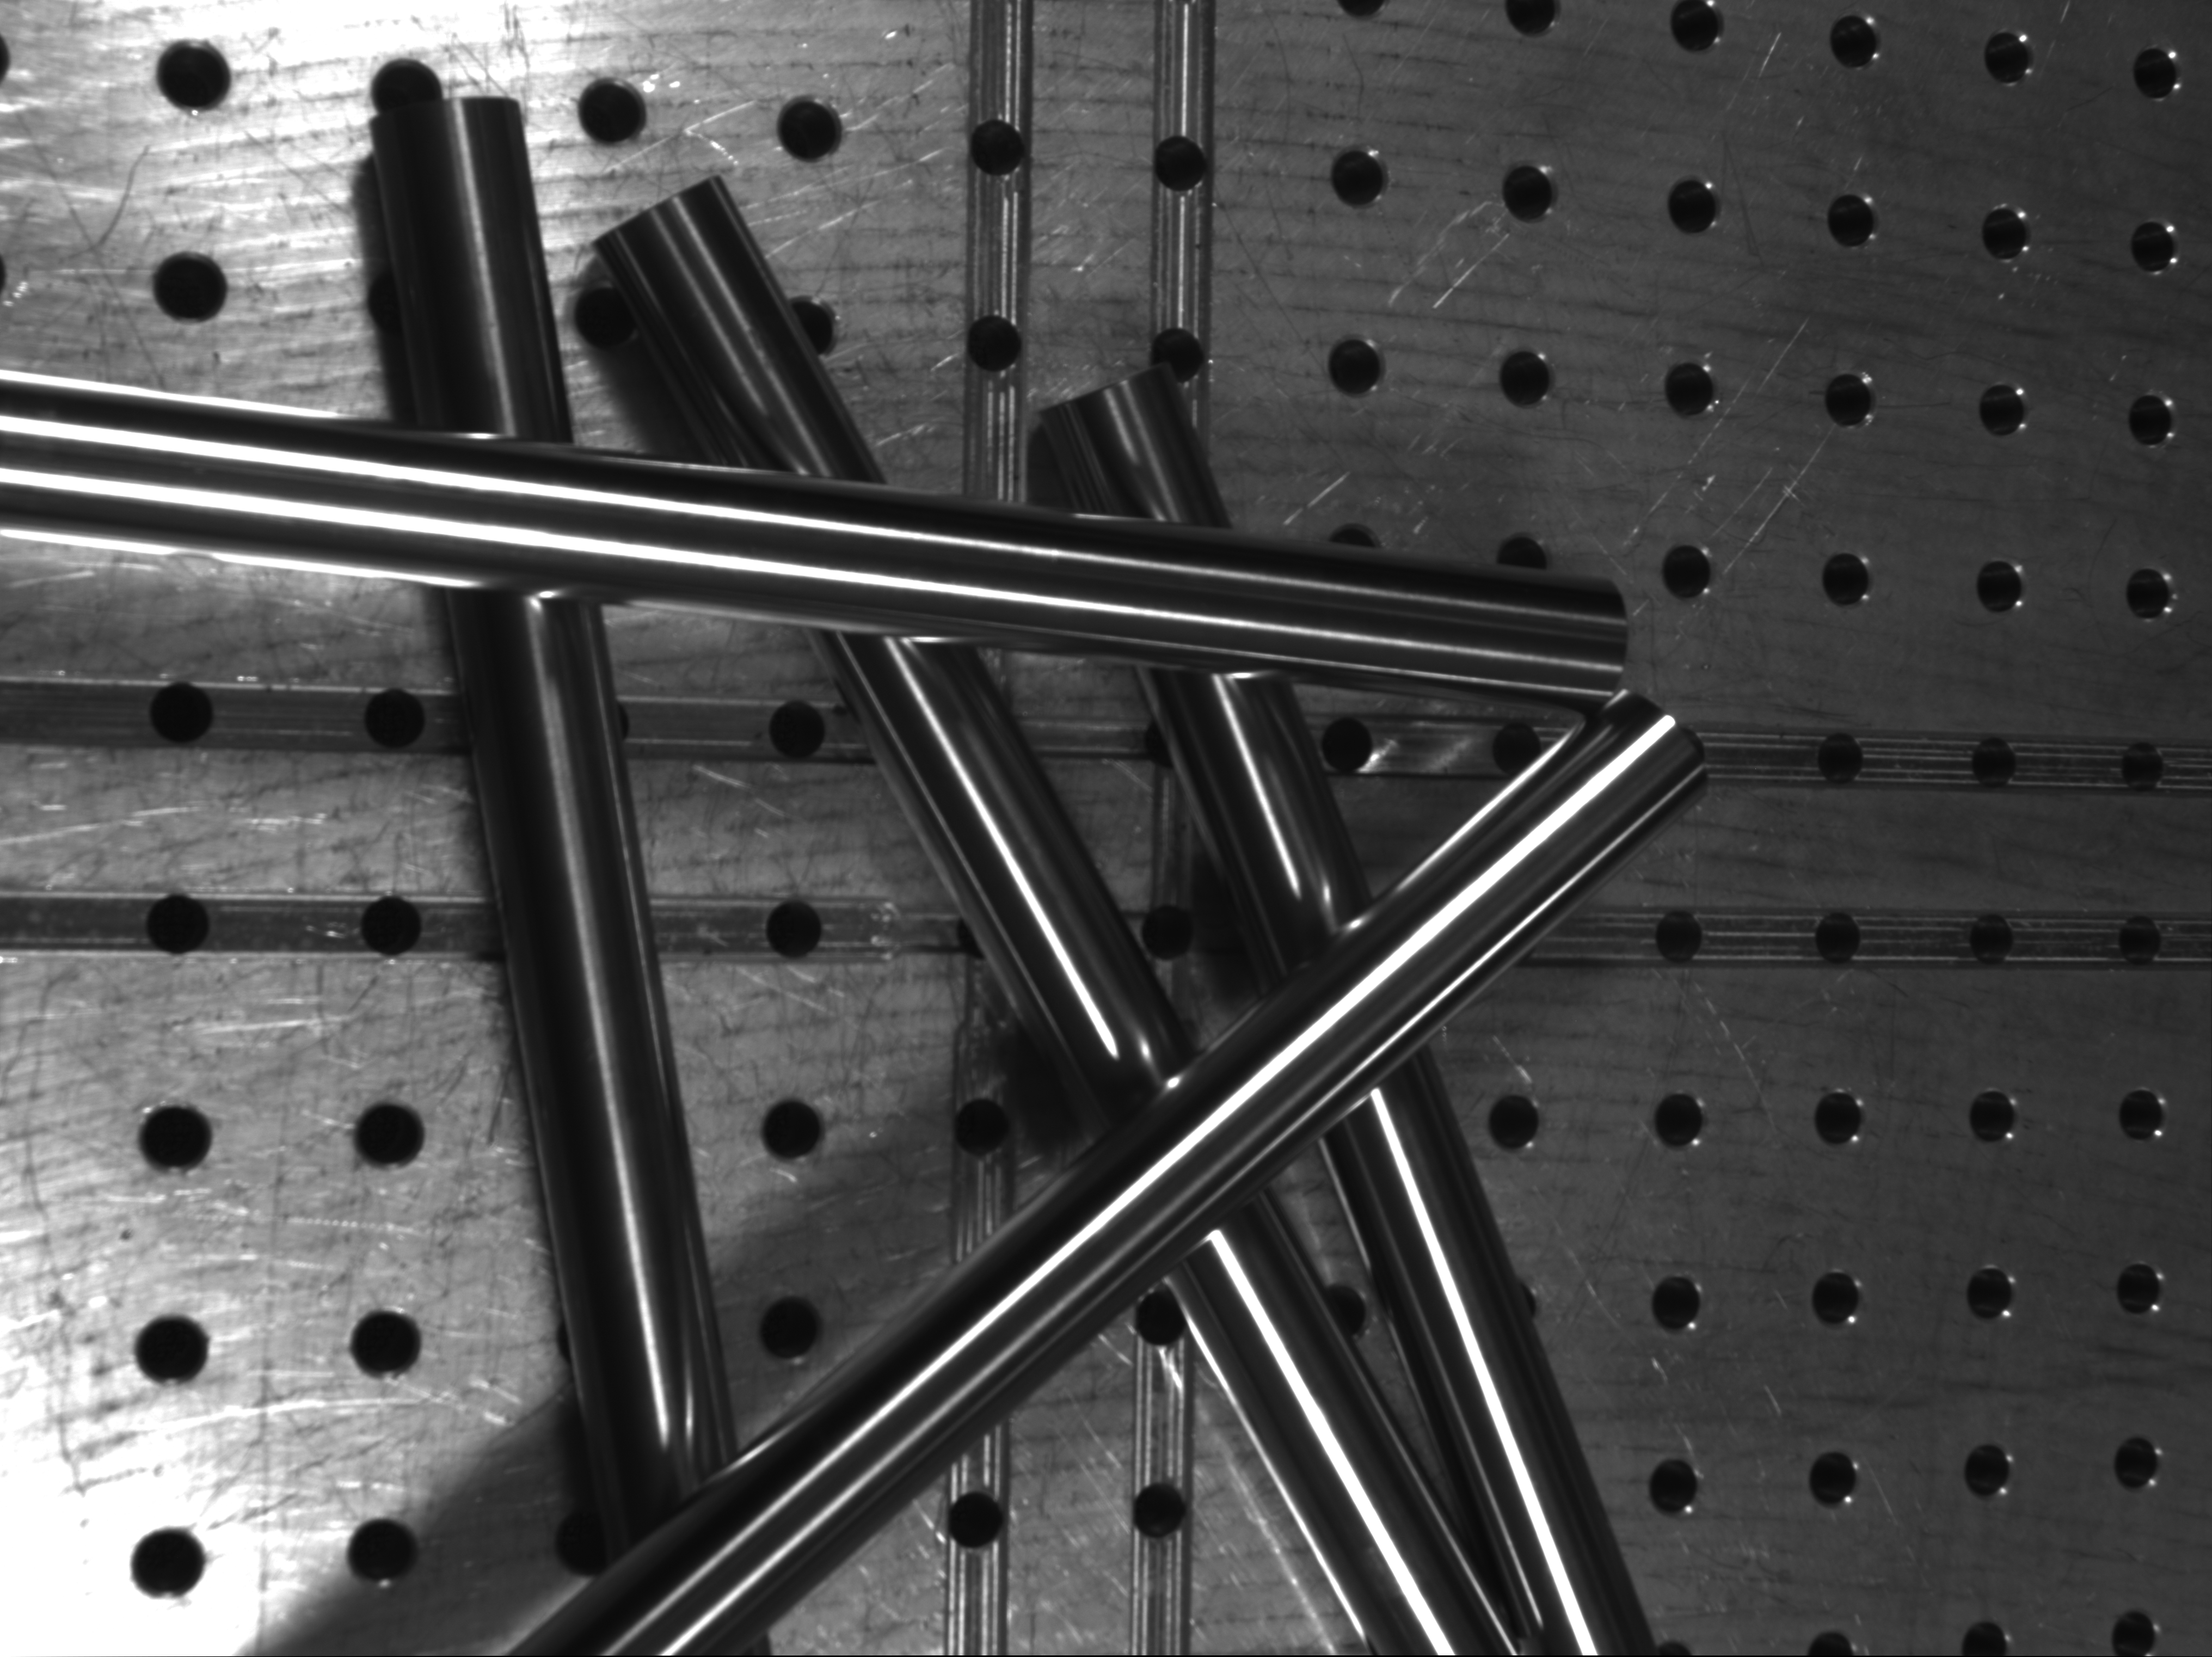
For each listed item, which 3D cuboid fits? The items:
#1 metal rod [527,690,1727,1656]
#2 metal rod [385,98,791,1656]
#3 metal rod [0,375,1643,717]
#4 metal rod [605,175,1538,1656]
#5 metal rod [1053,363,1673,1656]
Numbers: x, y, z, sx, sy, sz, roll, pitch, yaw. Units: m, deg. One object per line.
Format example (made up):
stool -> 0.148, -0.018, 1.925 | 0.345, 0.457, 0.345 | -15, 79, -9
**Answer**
metal rod -> -0.009, 0.078, 0.616 | 0.300, 0.025, 0.025 | -40, 103, -16
metal rod -> -0.083, 0.029, 0.615 | 0.025, 0.025, 0.300 | -10, 93, -20
metal rod -> -0.051, -0.046, 0.601 | 0.301, 0.025, 0.025 | 5, 88, -20
metal rod -> -0.003, 0.025, 0.644 | 0.025, 0.025, 0.300 | -32, 100, -17
metal rod -> 0.056, 0.061, 0.666 | 0.025, 0.025, 0.300 | -24, 98, -18
